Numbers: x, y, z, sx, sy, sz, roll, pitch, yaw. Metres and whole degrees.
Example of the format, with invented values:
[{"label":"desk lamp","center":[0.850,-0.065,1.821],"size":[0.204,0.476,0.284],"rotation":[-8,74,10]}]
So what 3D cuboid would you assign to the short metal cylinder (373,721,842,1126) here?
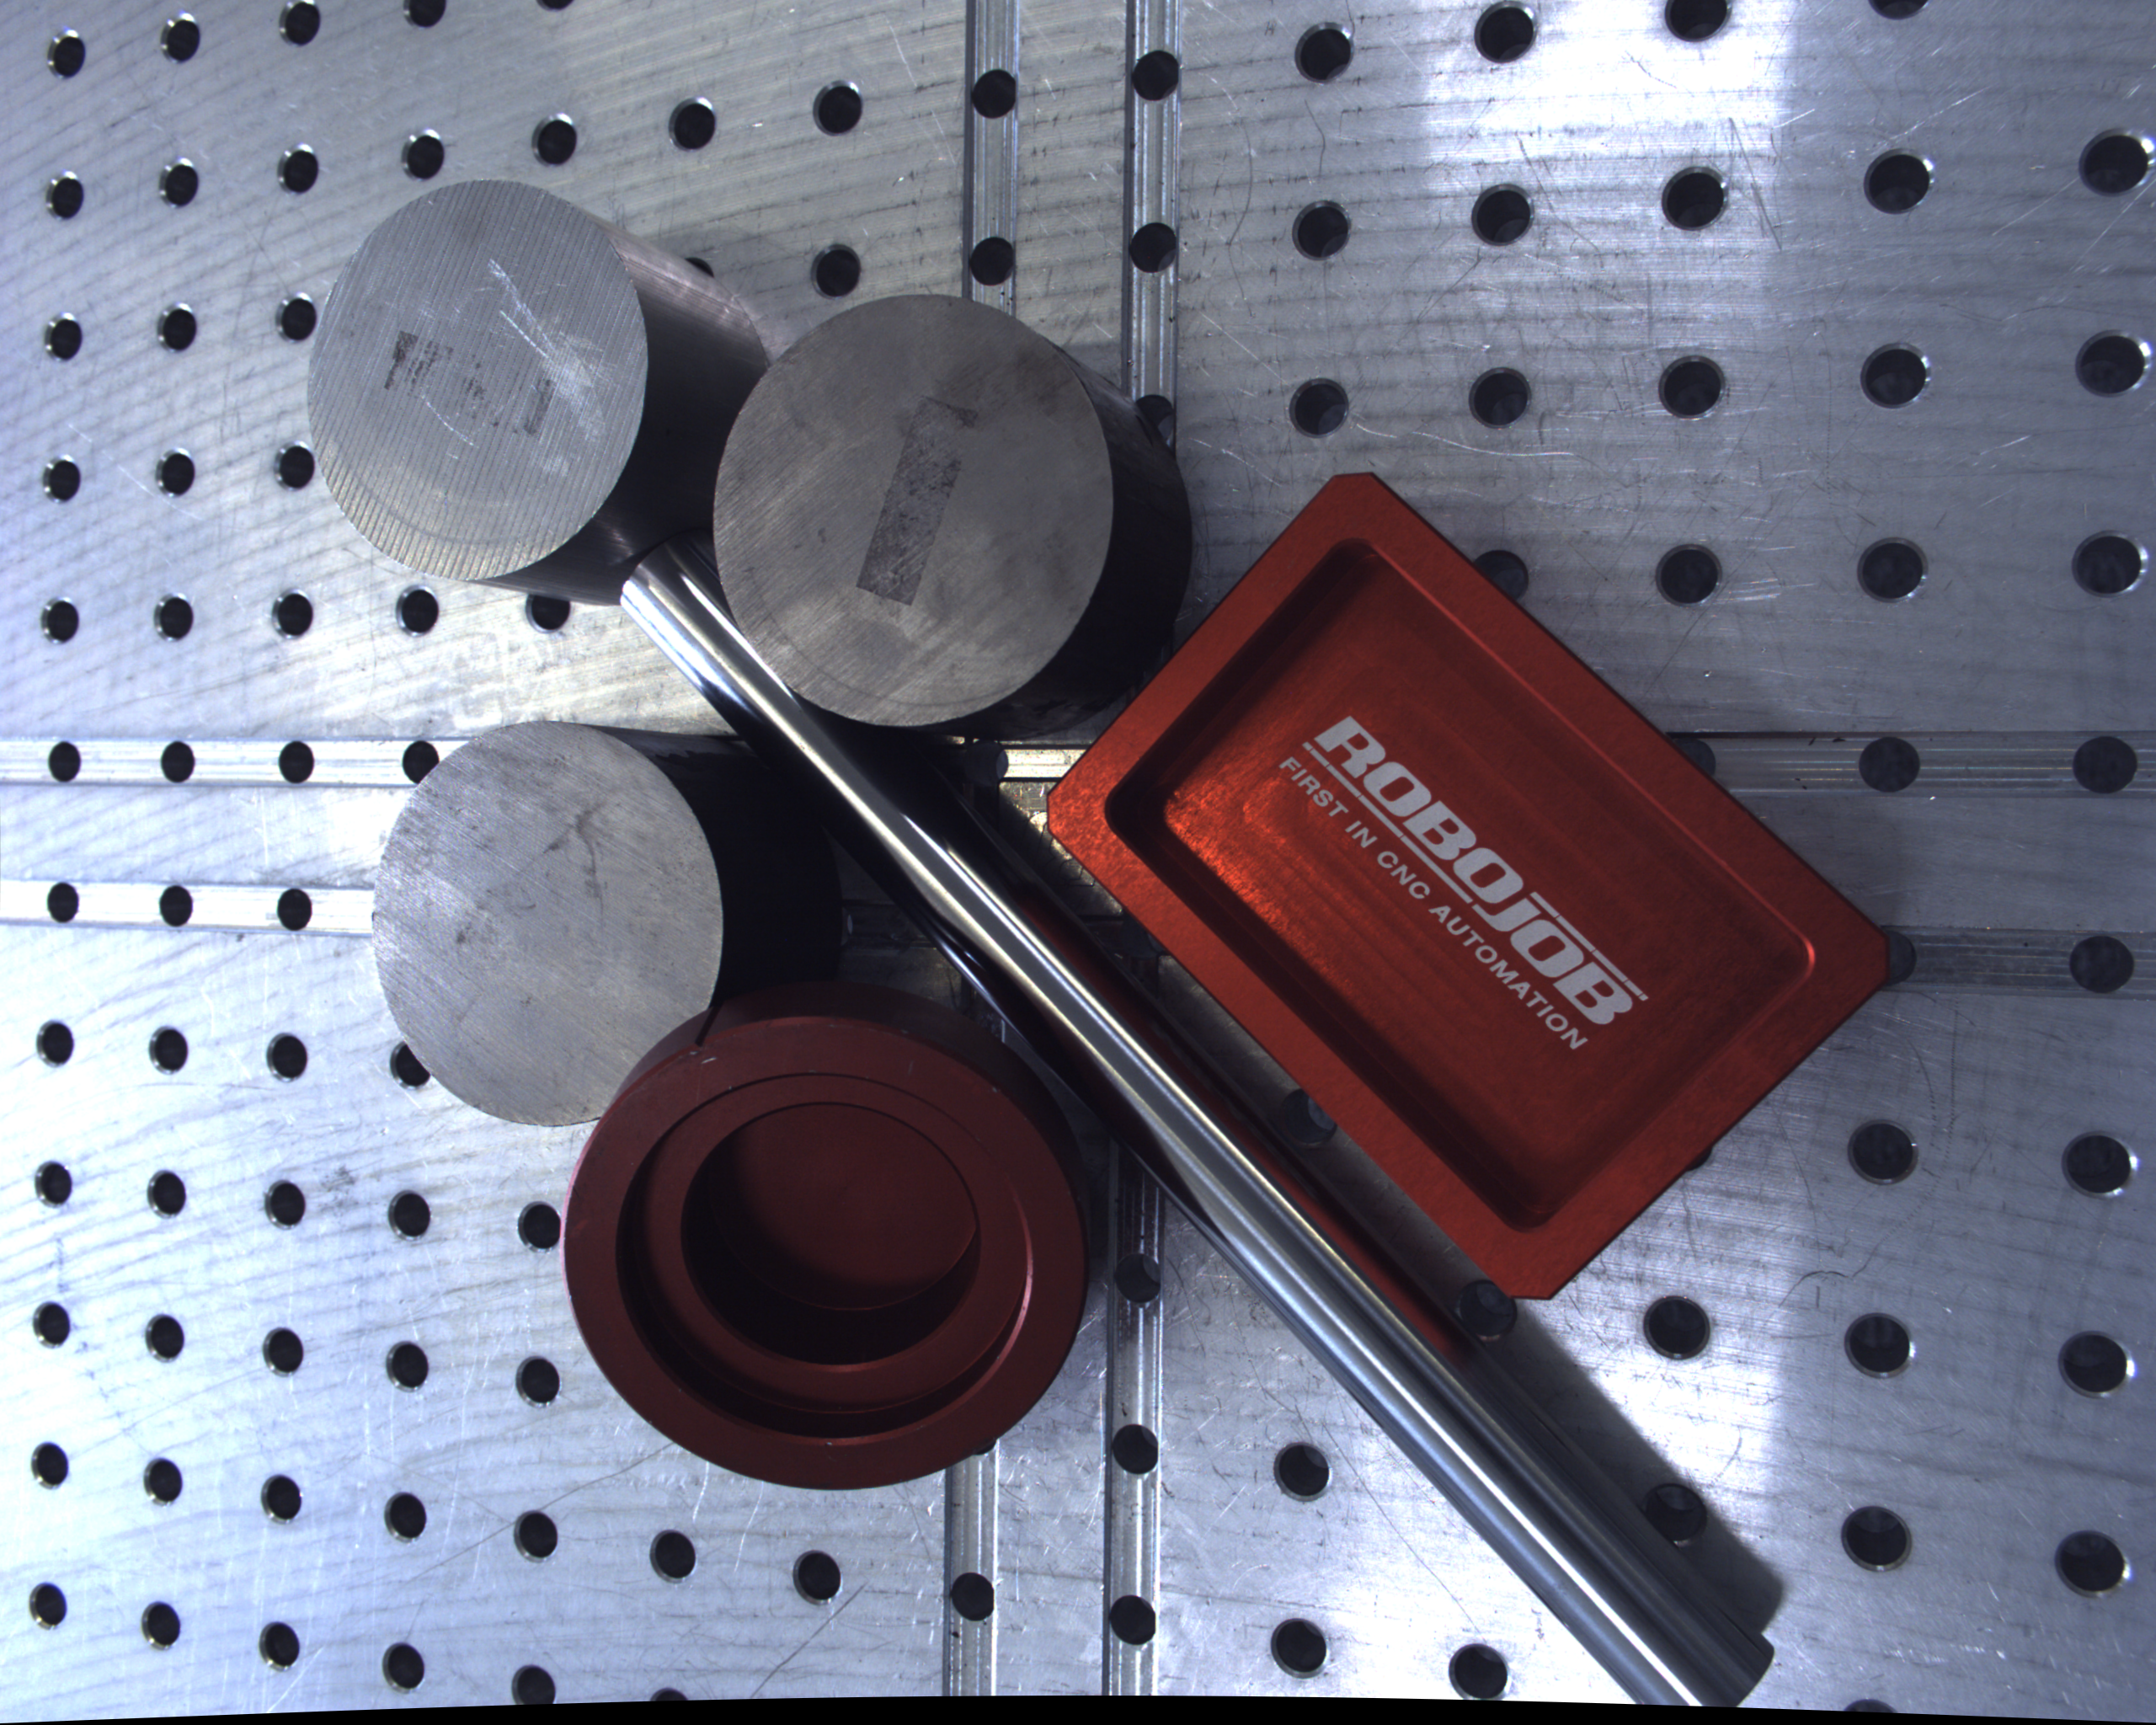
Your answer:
[{"label":"short metal cylinder","center":[-0.097,0.012,0.433],"size":[0.080,0.050,0.080],"rotation":[0,90,20]}]

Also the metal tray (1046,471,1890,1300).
[{"label":"metal tray","center":[0.069,0.003,0.384],"size":[0.130,0.030,0.090],"rotation":[45,104,14]}]

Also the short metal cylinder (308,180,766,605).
[{"label":"short metal cylinder","center":[-0.112,-0.096,0.439],"size":[0.080,0.050,0.080],"rotation":[0,90,20]}]

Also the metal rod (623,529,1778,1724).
[{"label":"metal rod","center":[0.014,0.043,0.408],"size":[0.300,0.025,0.025],"rotation":[46,104,14]}]

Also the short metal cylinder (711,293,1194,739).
[{"label":"short metal cylinder","center":[-0.023,-0.065,0.407],"size":[0.080,0.050,0.080],"rotation":[0,90,20]}]

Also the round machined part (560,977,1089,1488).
[{"label":"round machined part","center":[-0.047,0.068,0.409],"size":[0.099,0.042,0.097],"rotation":[0,105,1]}]
